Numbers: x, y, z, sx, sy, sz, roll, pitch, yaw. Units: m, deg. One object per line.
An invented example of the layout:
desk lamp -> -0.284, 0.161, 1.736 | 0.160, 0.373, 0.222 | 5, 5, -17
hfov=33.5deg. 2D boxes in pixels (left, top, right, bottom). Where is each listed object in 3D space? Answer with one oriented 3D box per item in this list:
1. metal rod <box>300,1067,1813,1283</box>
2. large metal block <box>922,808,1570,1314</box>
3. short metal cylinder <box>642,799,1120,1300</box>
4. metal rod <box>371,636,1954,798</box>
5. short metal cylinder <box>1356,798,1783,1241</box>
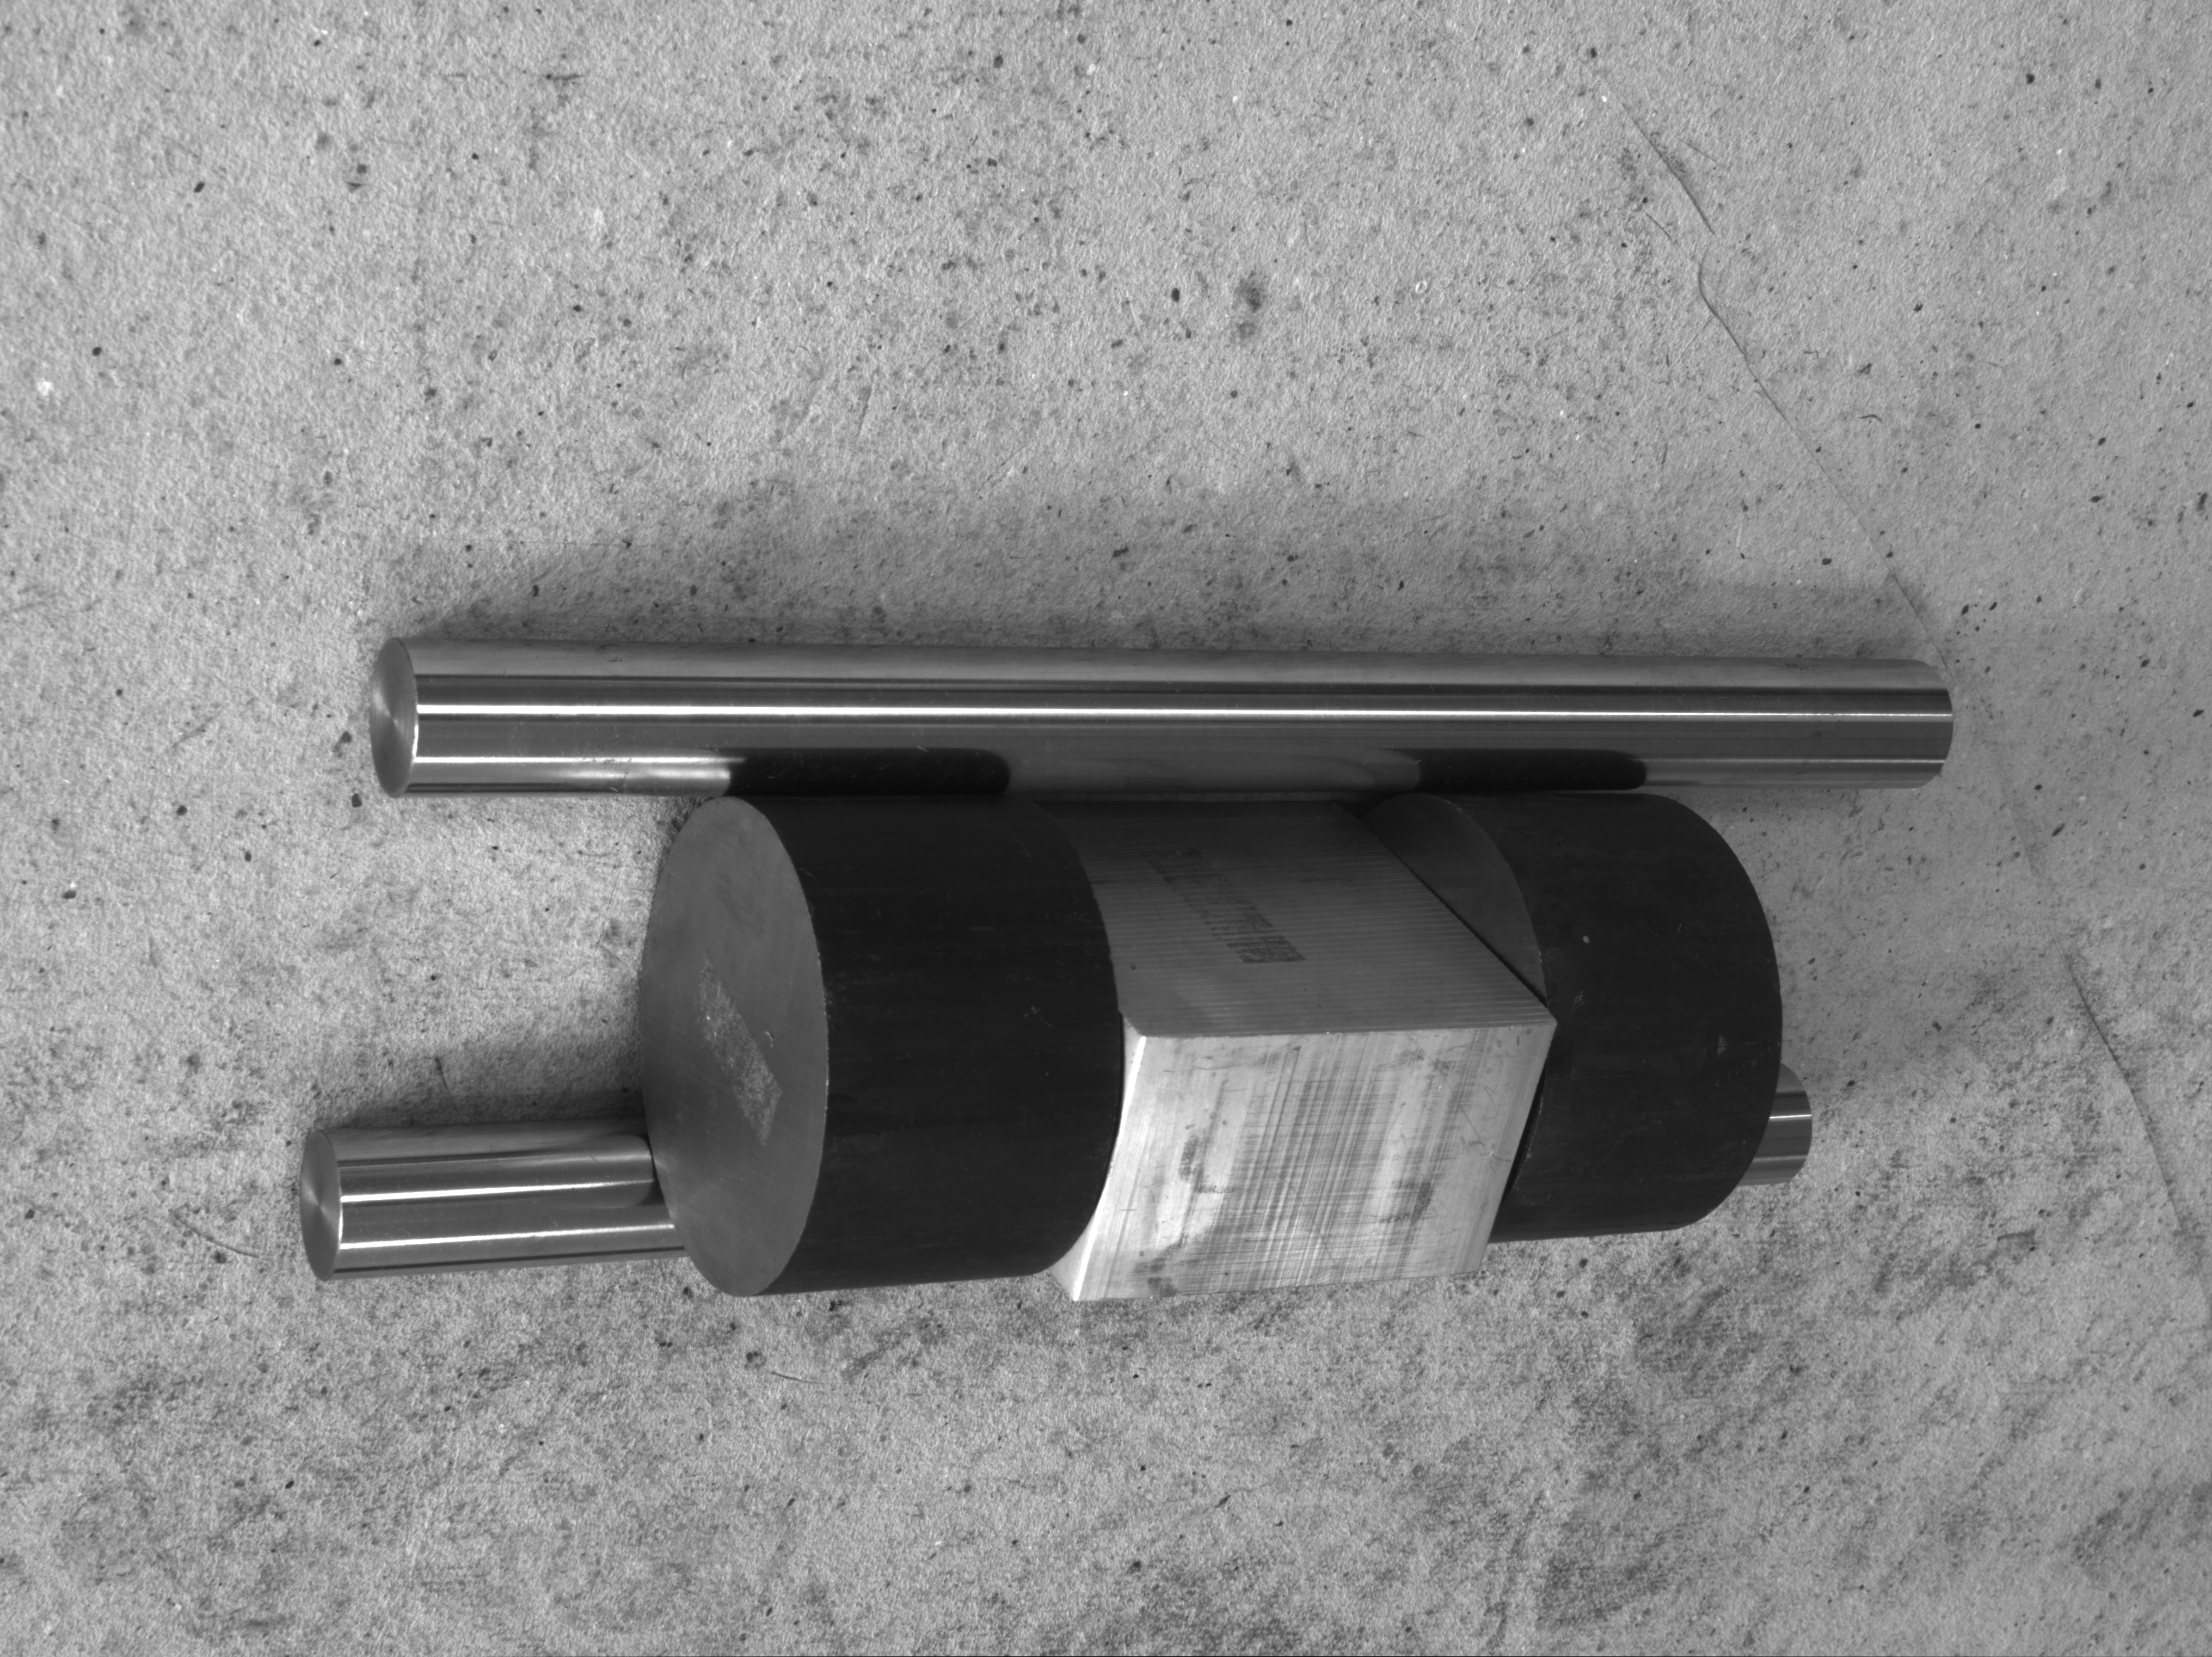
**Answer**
metal rod -> 0.003, 0.061, 0.677 | 0.301, 0.025, 0.025 | -1, 118, -28
large metal block -> 0.020, 0.037, 0.633 | 0.080, 0.080, 0.050 | 0, 118, -28
short metal cylinder -> -0.038, 0.035, 0.603 | 0.050, 0.080, 0.080 | -1, 119, -28
metal rod -> 0.023, -0.019, 0.639 | 0.301, 0.025, 0.025 | -1, 118, -28
short metal cylinder -> 0.077, 0.034, 0.664 | 0.050, 0.080, 0.080 | -1, 119, -28
